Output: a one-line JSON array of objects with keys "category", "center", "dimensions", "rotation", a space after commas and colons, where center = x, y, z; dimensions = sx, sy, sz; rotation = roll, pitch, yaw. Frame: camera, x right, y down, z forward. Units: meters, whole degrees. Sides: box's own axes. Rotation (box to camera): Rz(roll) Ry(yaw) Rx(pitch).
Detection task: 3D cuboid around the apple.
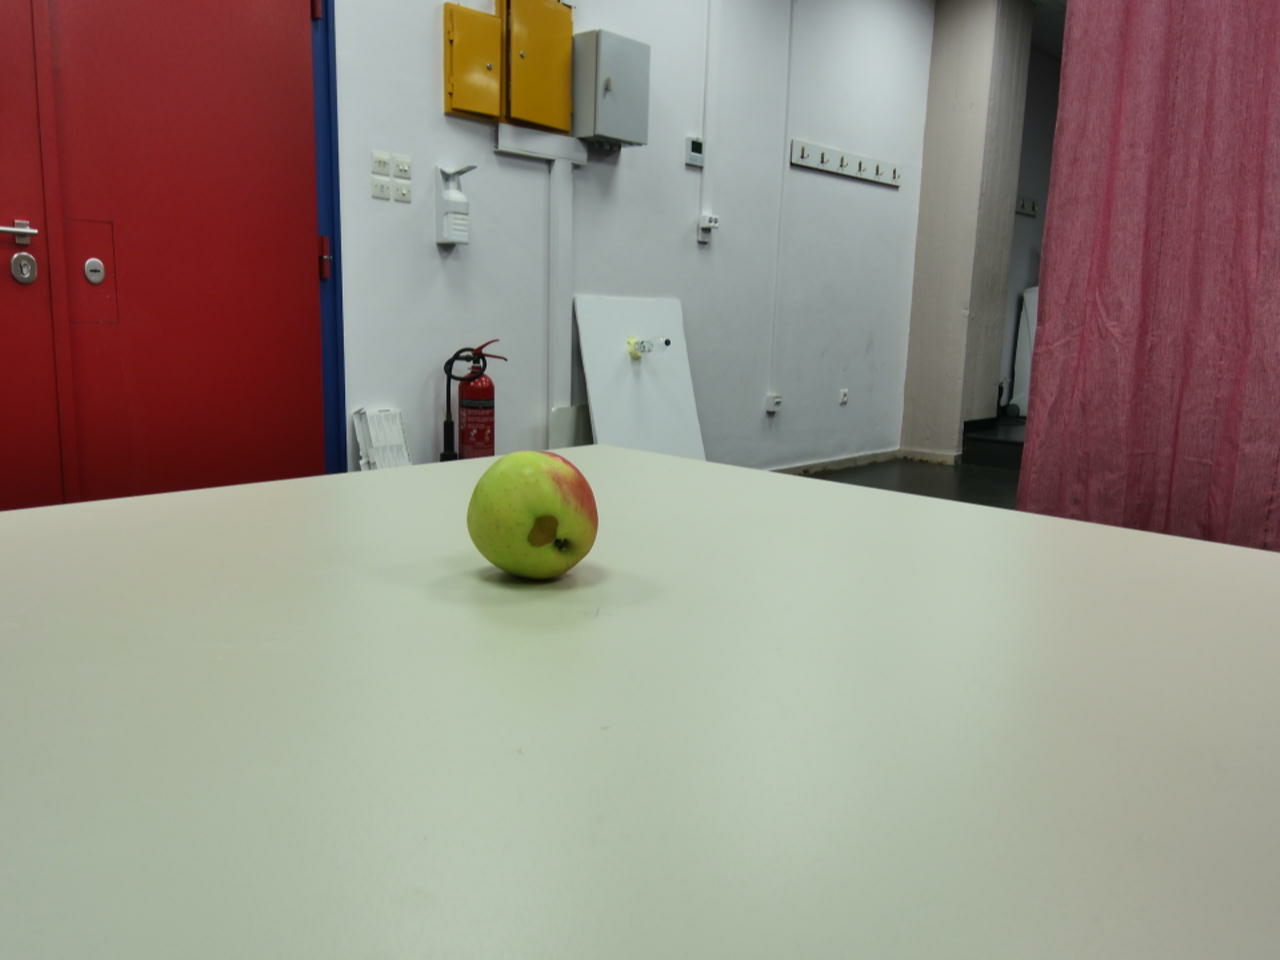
[{"category": "apple", "center": [-0.061, 0.019, 0.590], "dimensions": [0.075, 0.074, 0.075], "rotation": [4, 9, 23]}]
